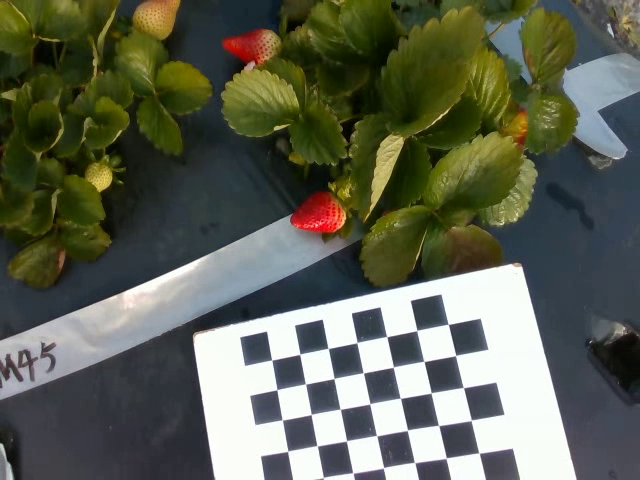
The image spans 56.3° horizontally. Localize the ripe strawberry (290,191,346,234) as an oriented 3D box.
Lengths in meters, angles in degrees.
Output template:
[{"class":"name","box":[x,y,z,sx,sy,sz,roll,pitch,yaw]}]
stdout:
[{"class":"ripe strawberry","box":[-0.003,-0.018,0.461,0.055,0.050,0.036,-17,-5,-8]}]
